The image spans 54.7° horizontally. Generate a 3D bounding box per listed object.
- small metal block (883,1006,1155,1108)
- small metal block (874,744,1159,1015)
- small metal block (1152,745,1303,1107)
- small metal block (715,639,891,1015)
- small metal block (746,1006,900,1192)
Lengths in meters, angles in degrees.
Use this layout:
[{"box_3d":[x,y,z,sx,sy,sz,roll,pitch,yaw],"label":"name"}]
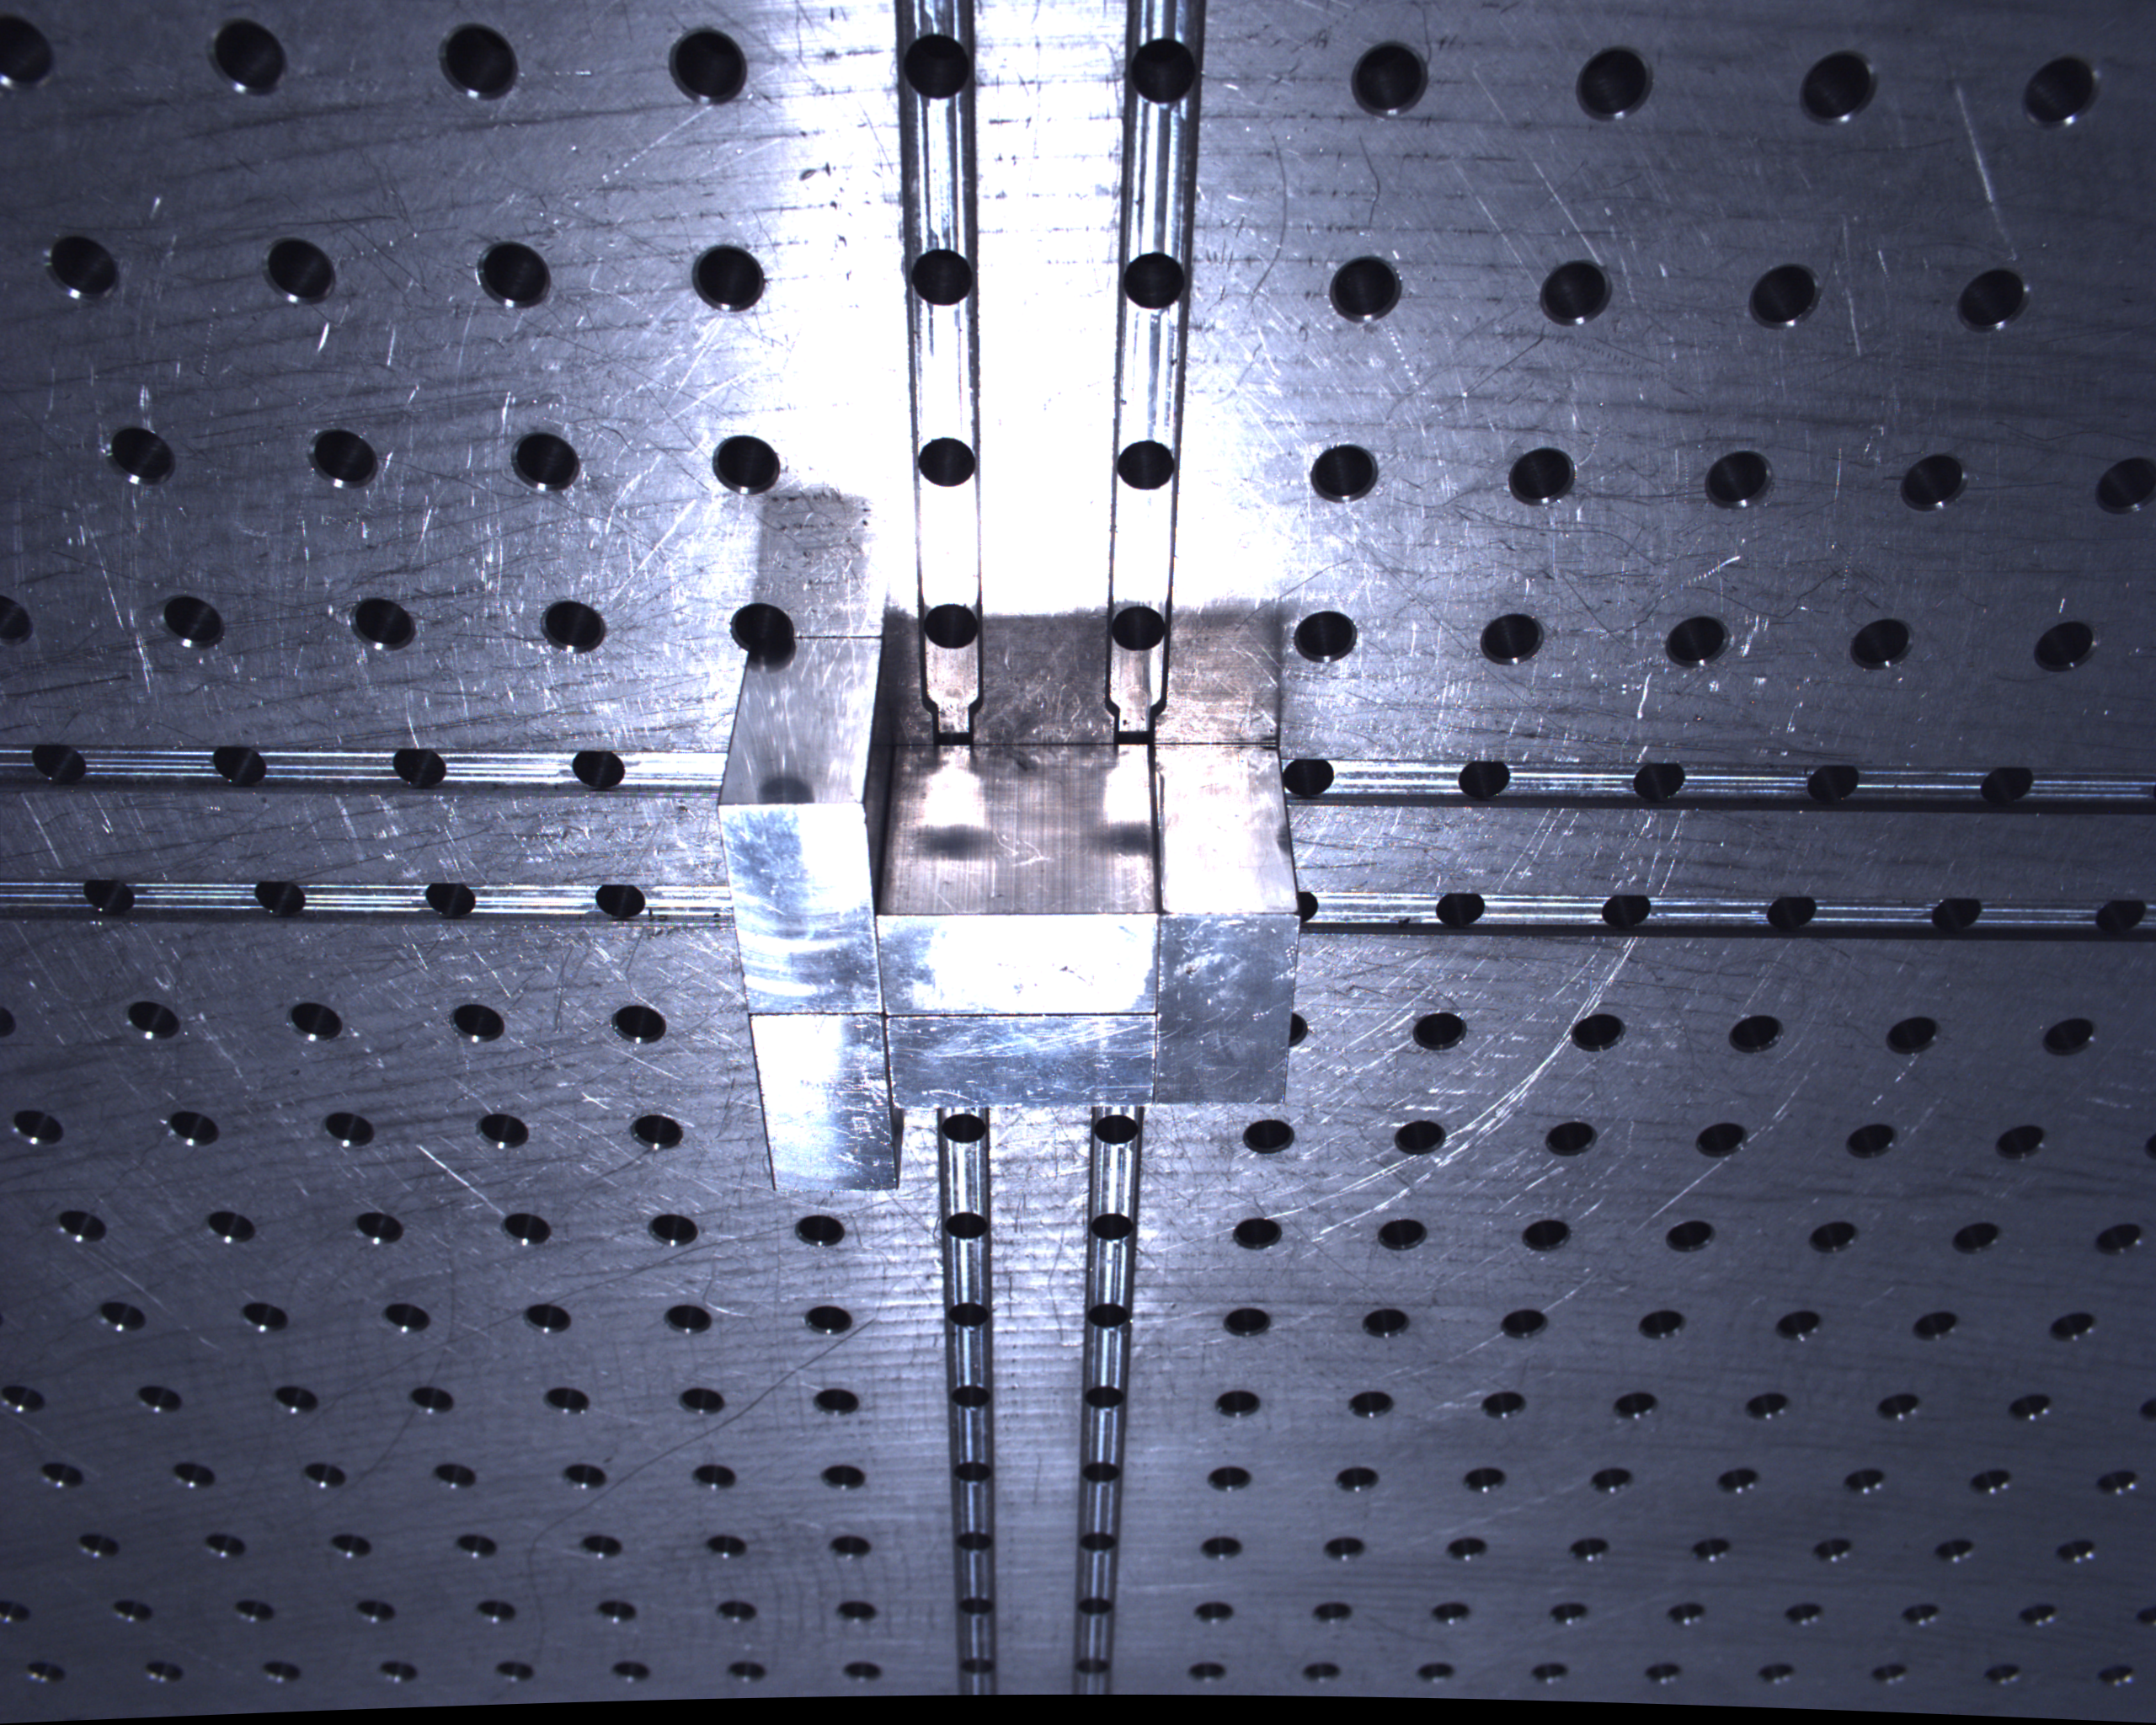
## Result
[{"box_3d":[-0.011,0.022,0.413,0.050,0.050,0.025,0,130,-1],"label":"small metal block"},{"box_3d":[-0.011,0.002,0.396,0.050,0.050,0.025,0,130,-1],"label":"small metal block"},{"box_3d":[0.027,0.012,0.405,0.025,0.050,0.050,0,130,0],"label":"small metal block"},{"box_3d":[-0.049,-0.007,0.388,0.025,0.050,0.050,0,130,0],"label":"small metal block"},{"box_3d":[-0.049,0.031,0.420,0.025,0.050,0.050,0,130,0],"label":"small metal block"}]
